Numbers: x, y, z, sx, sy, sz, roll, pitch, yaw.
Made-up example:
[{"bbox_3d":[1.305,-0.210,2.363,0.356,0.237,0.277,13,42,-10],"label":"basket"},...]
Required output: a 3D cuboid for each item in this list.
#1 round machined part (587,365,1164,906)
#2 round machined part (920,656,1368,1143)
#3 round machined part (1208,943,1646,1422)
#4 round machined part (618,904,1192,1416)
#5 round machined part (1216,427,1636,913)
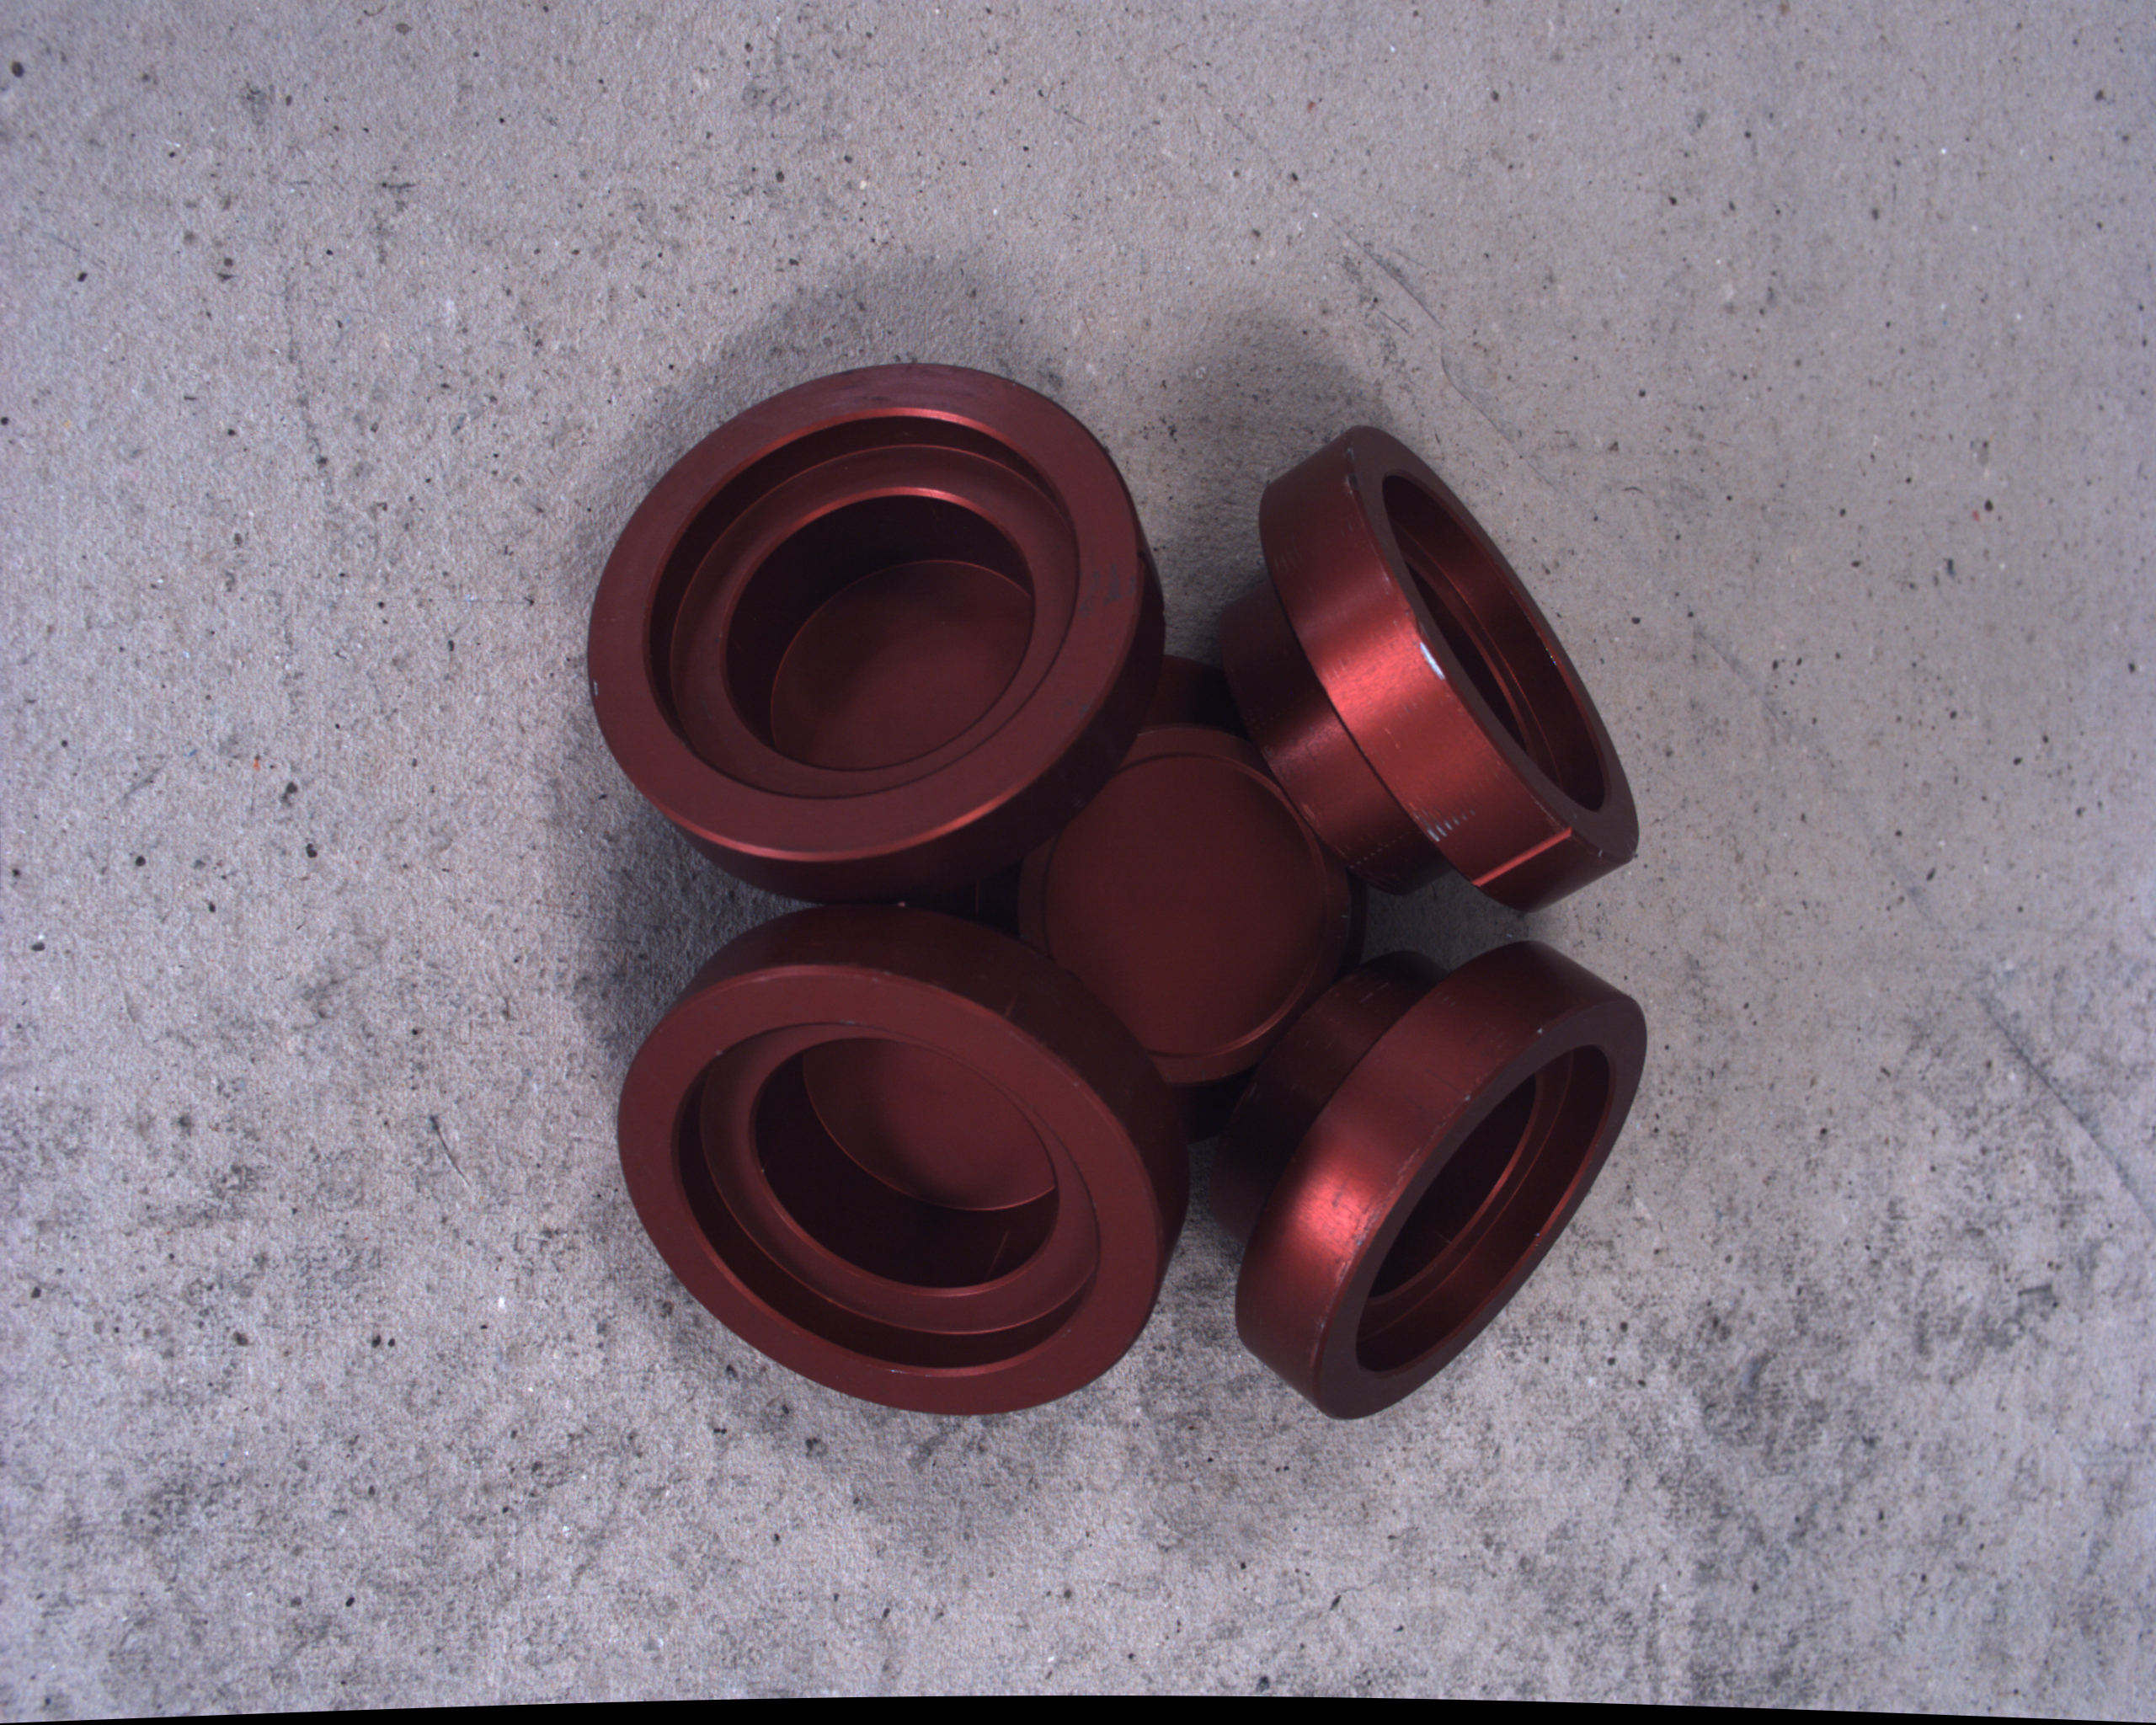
[{"bbox_3d":[-0.033,-0.037,0.372,0.098,0.042,0.098,-5,64,11],"label":"round machined part"},{"bbox_3d":[0.013,0.008,0.406,0.099,0.042,0.097,1,88,-21],"label":"round machined part"},{"bbox_3d":[0.064,0.057,0.407,0.099,0.042,0.097,-33,143,-30],"label":"round machined part"},{"bbox_3d":[-0.028,0.048,0.372,0.098,0.098,0.042,48,32,-14],"label":"round machined part"},{"bbox_3d":[0.064,-0.032,0.406,0.042,0.098,0.098,-33,104,25],"label":"round machined part"}]
